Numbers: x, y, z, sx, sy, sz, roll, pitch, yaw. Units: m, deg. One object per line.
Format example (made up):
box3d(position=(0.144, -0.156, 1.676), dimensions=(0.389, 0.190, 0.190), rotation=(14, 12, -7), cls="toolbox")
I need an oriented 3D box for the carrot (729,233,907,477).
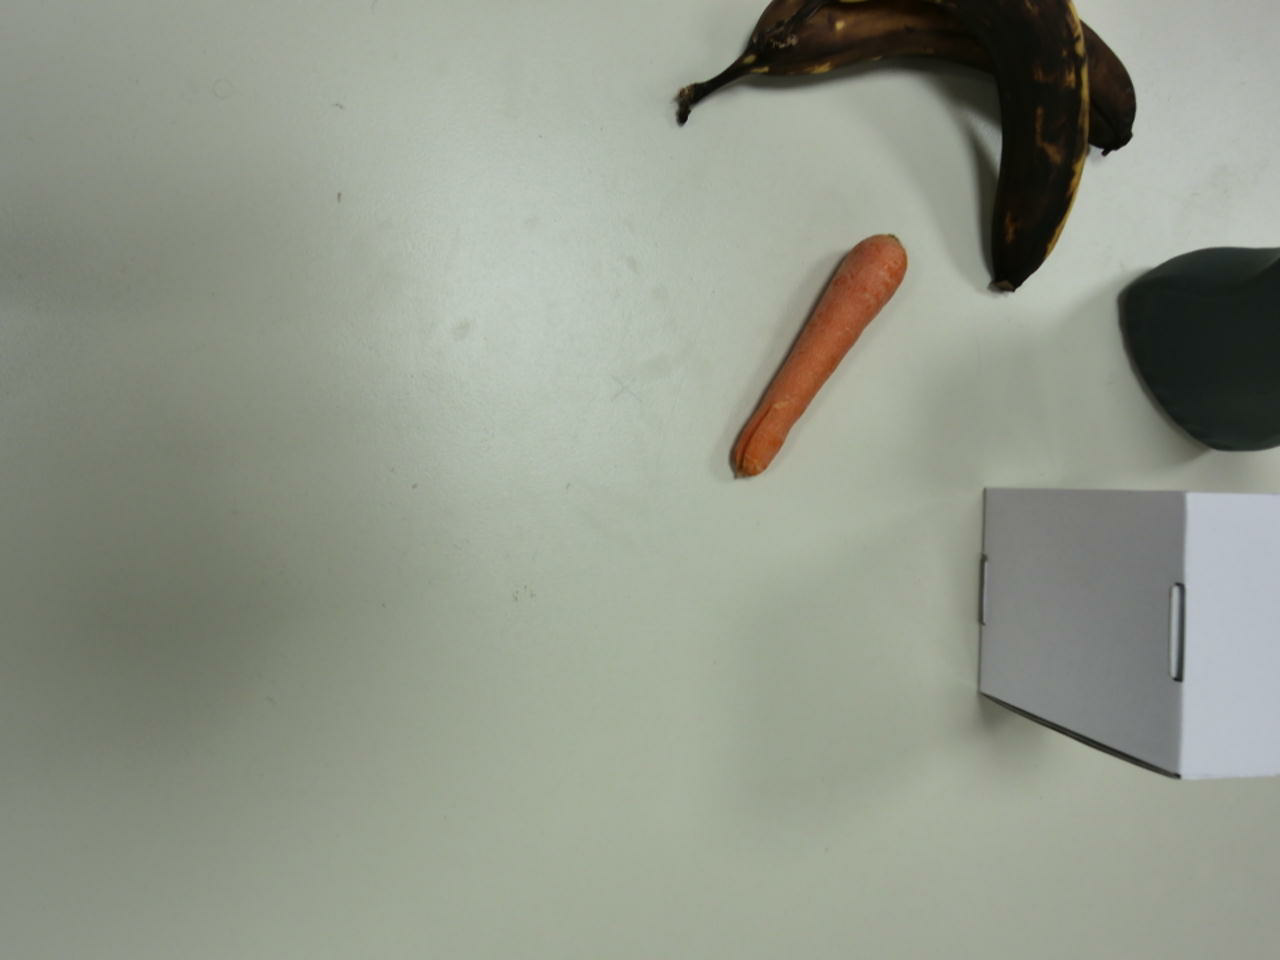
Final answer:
box3d(position=(0.082, -0.059, 0.466), dimensions=(0.030, 0.032, 0.136), rotation=(35, 83, -10), cls="carrot")
